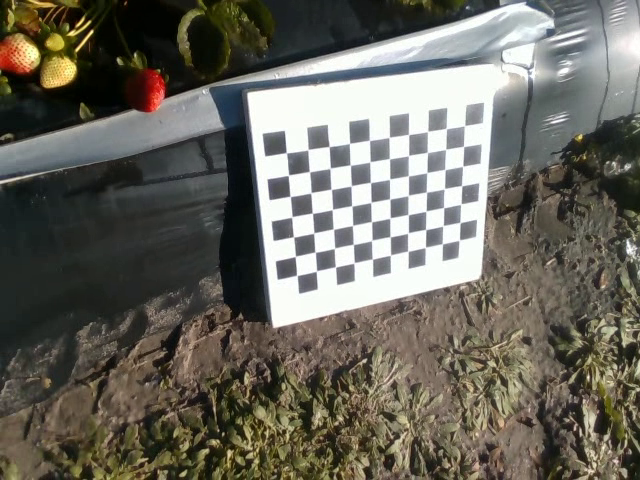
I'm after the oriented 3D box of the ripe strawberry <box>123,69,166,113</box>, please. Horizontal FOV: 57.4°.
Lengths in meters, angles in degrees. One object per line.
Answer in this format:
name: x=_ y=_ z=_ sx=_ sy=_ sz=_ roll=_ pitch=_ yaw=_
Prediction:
ripe strawberry: x=-0.133 y=-0.110 z=0.440 sx=0.036 sy=0.038 sz=0.046 roll=-12 pitch=39 yaw=-14
